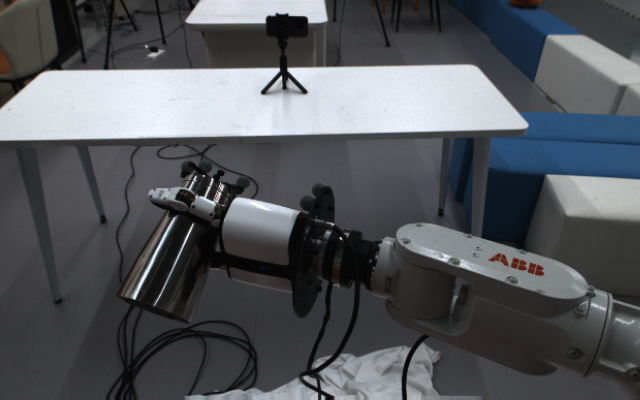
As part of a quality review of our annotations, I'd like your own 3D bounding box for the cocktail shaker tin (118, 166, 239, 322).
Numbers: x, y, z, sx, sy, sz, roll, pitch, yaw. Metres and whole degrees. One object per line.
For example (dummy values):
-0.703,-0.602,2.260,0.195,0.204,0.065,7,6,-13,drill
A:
-0.168,0.053,0.600,0.093,0.093,0.170,12,65,15,cocktail shaker tin
